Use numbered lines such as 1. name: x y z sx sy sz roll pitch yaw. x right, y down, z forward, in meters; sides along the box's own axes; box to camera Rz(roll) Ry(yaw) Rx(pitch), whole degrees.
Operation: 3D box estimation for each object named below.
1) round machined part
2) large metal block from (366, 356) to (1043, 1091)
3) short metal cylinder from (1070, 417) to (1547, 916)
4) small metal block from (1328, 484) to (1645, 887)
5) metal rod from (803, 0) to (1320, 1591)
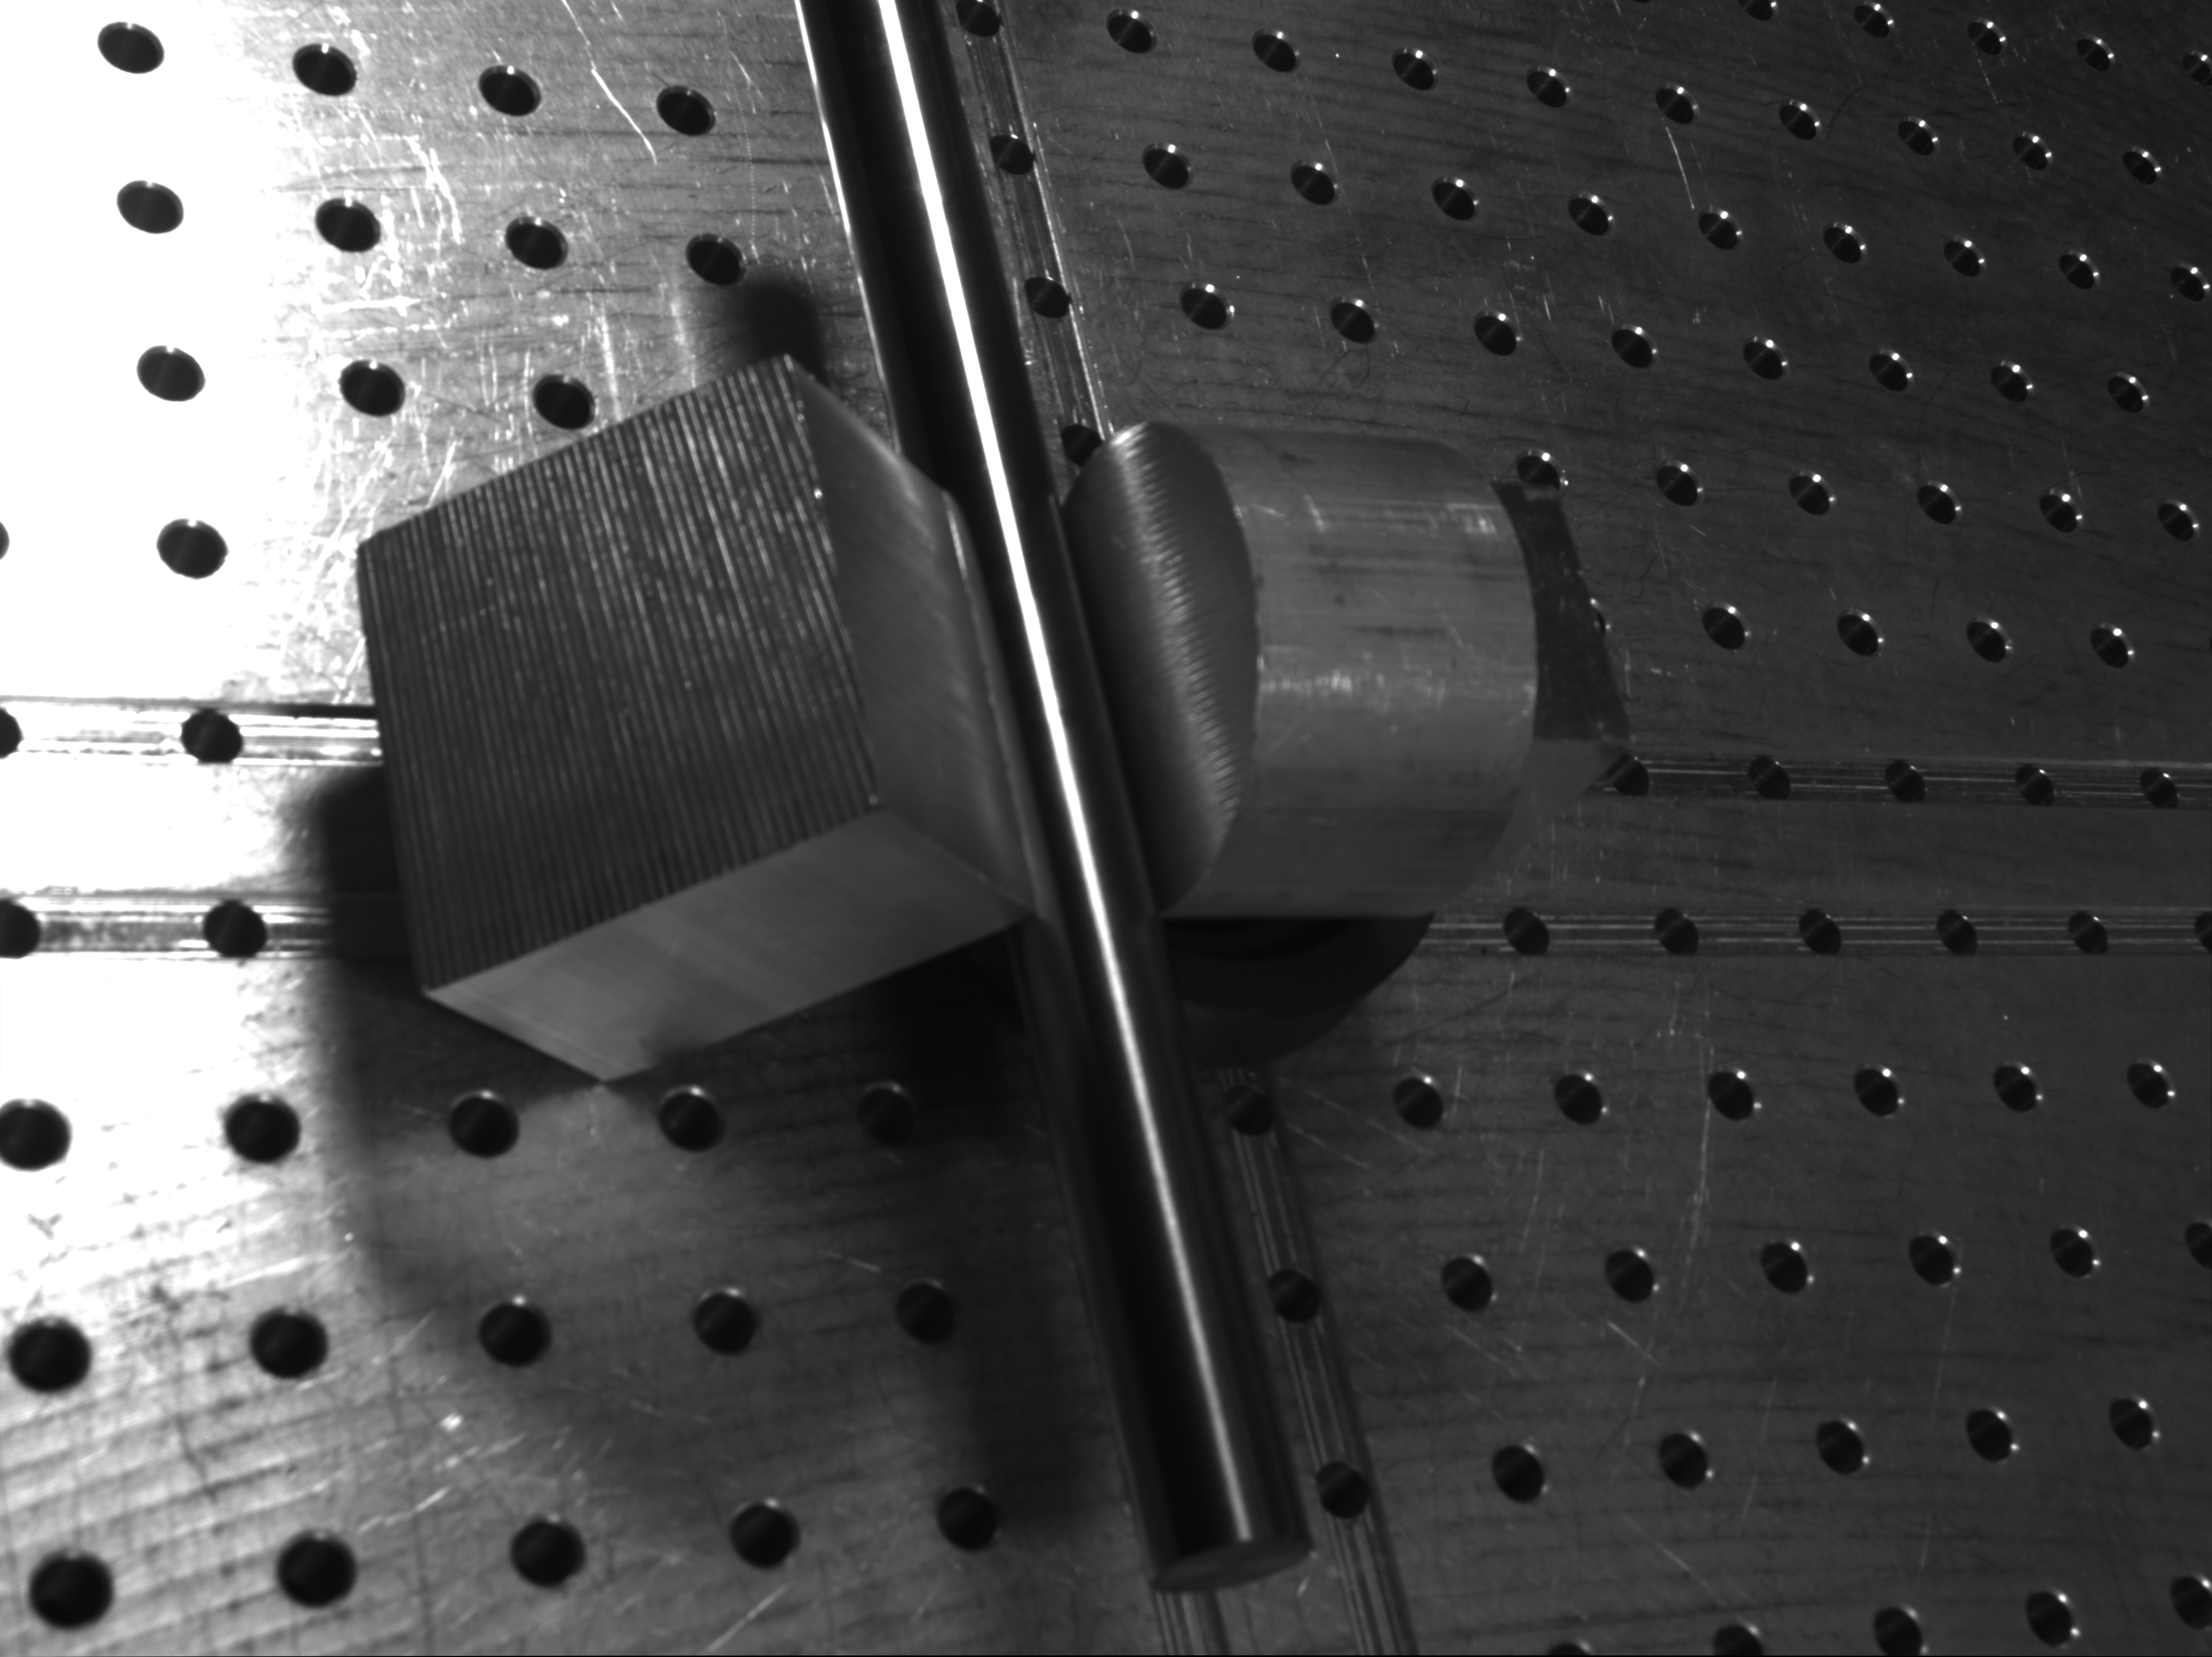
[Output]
1. round machined part: 0.010 -0.002 0.637 0.098 0.042 0.098 14 56 -21
2. large metal block: -0.064 -0.015 0.575 0.050 0.080 0.080 39 33 -59
3. short metal cylinder: 0.029 -0.026 0.600 0.050 0.080 0.080 1 61 -28
4. small metal block: 0.061 -0.024 0.620 0.025 0.050 0.050 1 61 -27
5. metal rod: -0.012 -0.025 0.598 0.025 0.025 0.300 1 61 -28
